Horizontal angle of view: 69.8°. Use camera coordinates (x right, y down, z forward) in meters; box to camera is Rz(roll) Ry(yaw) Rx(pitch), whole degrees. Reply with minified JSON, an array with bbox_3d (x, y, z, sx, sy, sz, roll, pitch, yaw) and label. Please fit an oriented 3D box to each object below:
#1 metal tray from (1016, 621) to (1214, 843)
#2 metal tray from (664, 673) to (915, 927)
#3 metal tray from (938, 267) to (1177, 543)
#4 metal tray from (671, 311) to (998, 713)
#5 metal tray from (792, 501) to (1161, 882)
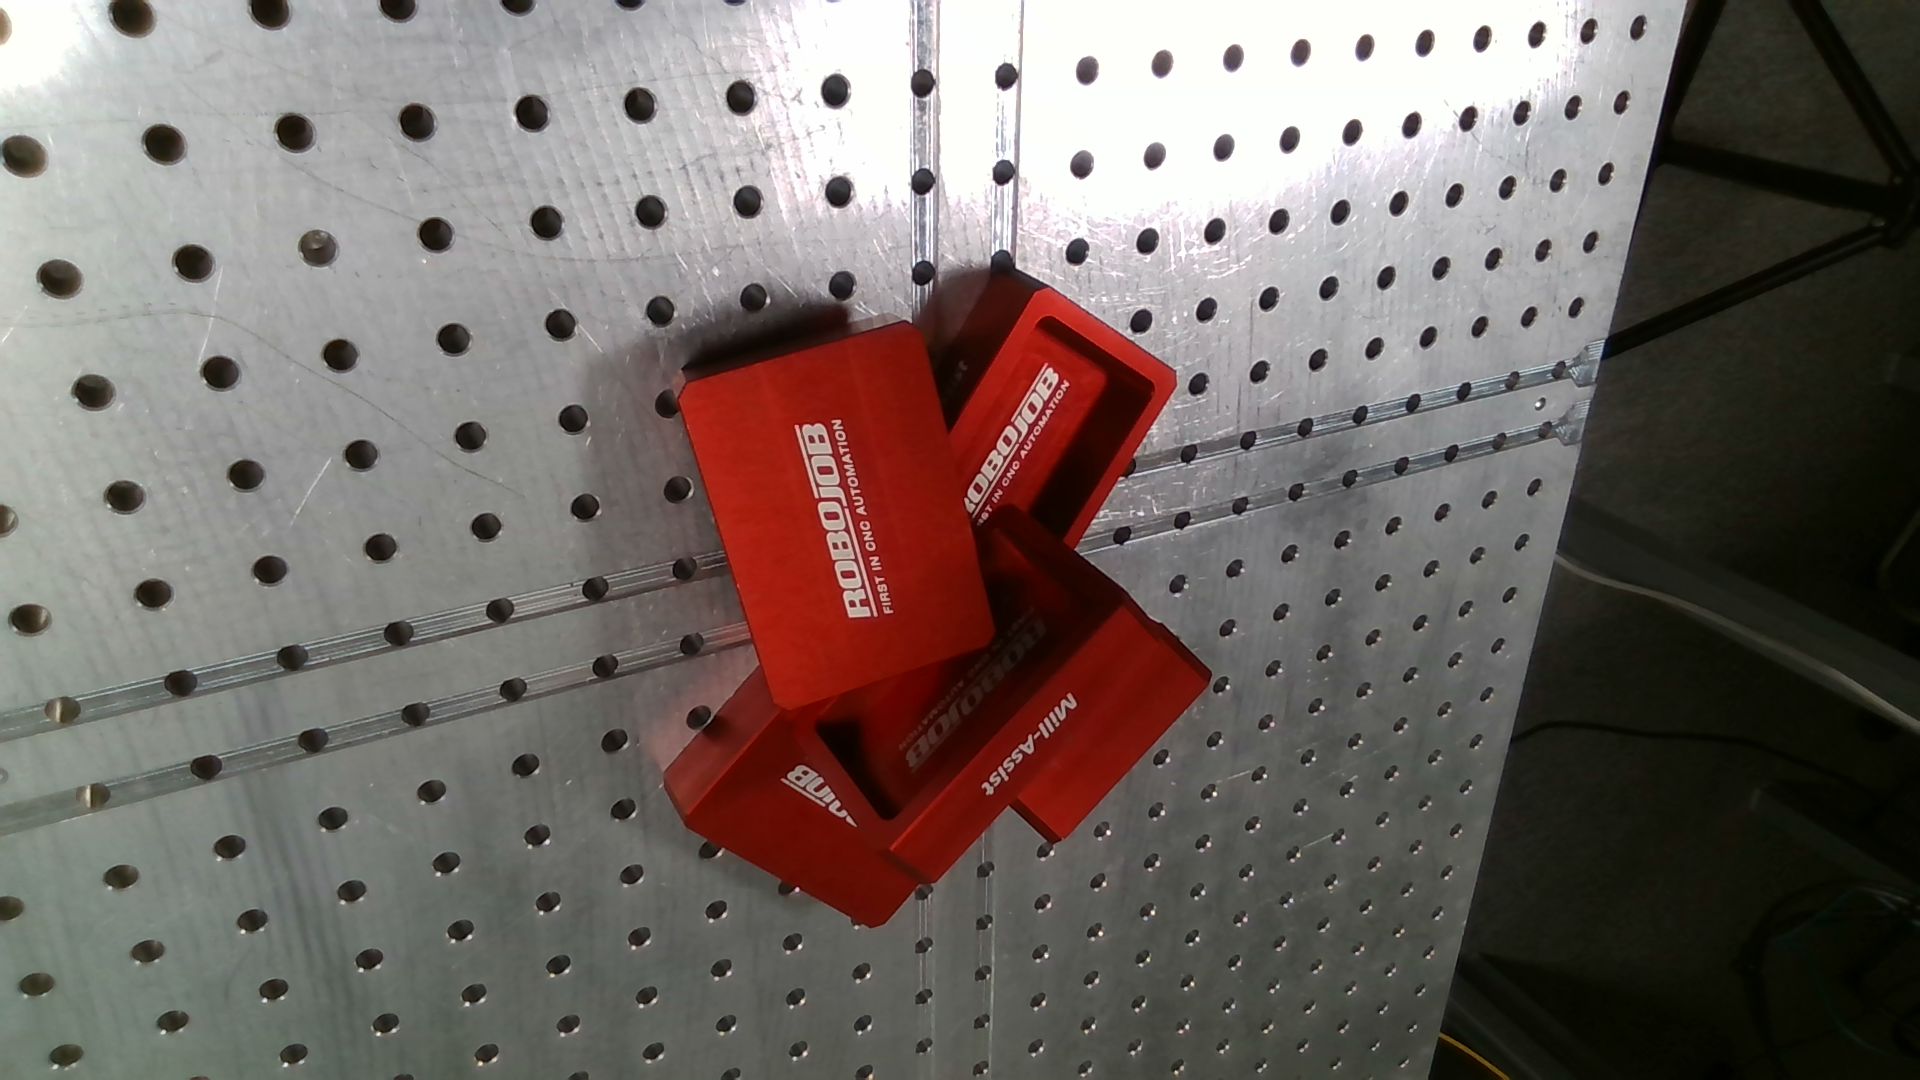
[{"bbox_3d":[0.047,0.067,0.581,0.030,0.130,0.090,44,88,-11],"label":"metal tray"},{"bbox_3d":[-0.053,0.107,0.605,0.090,0.030,0.130,-49,129,0],"label":"metal tray"},{"bbox_3d":[0.022,-0.036,0.574,0.090,0.030,0.130,25,100,-38],"label":"metal tray"},{"bbox_3d":[-0.045,-0.011,0.516,0.090,0.030,0.130,-18,109,-10],"label":"metal tray"},{"bbox_3d":[0.004,0.056,0.535,0.130,0.090,0.030,-46,129,-2],"label":"metal tray"}]
